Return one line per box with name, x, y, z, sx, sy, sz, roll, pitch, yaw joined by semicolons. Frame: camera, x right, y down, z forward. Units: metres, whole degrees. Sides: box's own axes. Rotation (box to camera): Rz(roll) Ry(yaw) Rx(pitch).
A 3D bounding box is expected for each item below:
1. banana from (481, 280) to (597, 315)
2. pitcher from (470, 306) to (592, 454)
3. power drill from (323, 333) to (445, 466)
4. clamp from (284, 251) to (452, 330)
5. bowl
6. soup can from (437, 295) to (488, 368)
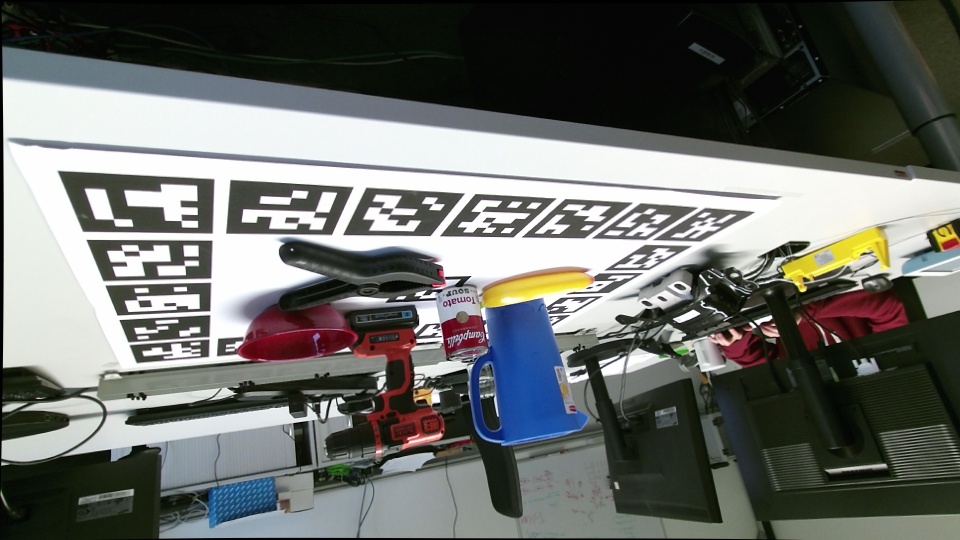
banana;0.097;0.041;0.856;0.198;0.038;0.074;-11;166;-5
pitcher;0.070;0.184;0.905;0.189;0.241;0.133;-12;161;-7
power drill;-0.157;0.196;0.821;0.185;0.186;0.057;-3;155;-24
clamp;-0.128;0.024;0.657;0.203;0.036;0.165;-2;151;-27
bowl;-0.247;0.098;0.753;0.162;0.055;0.162;-13;157;-6
soup can;-0.026;0.095;0.823;0.068;0.101;0.068;-10;166;-2
